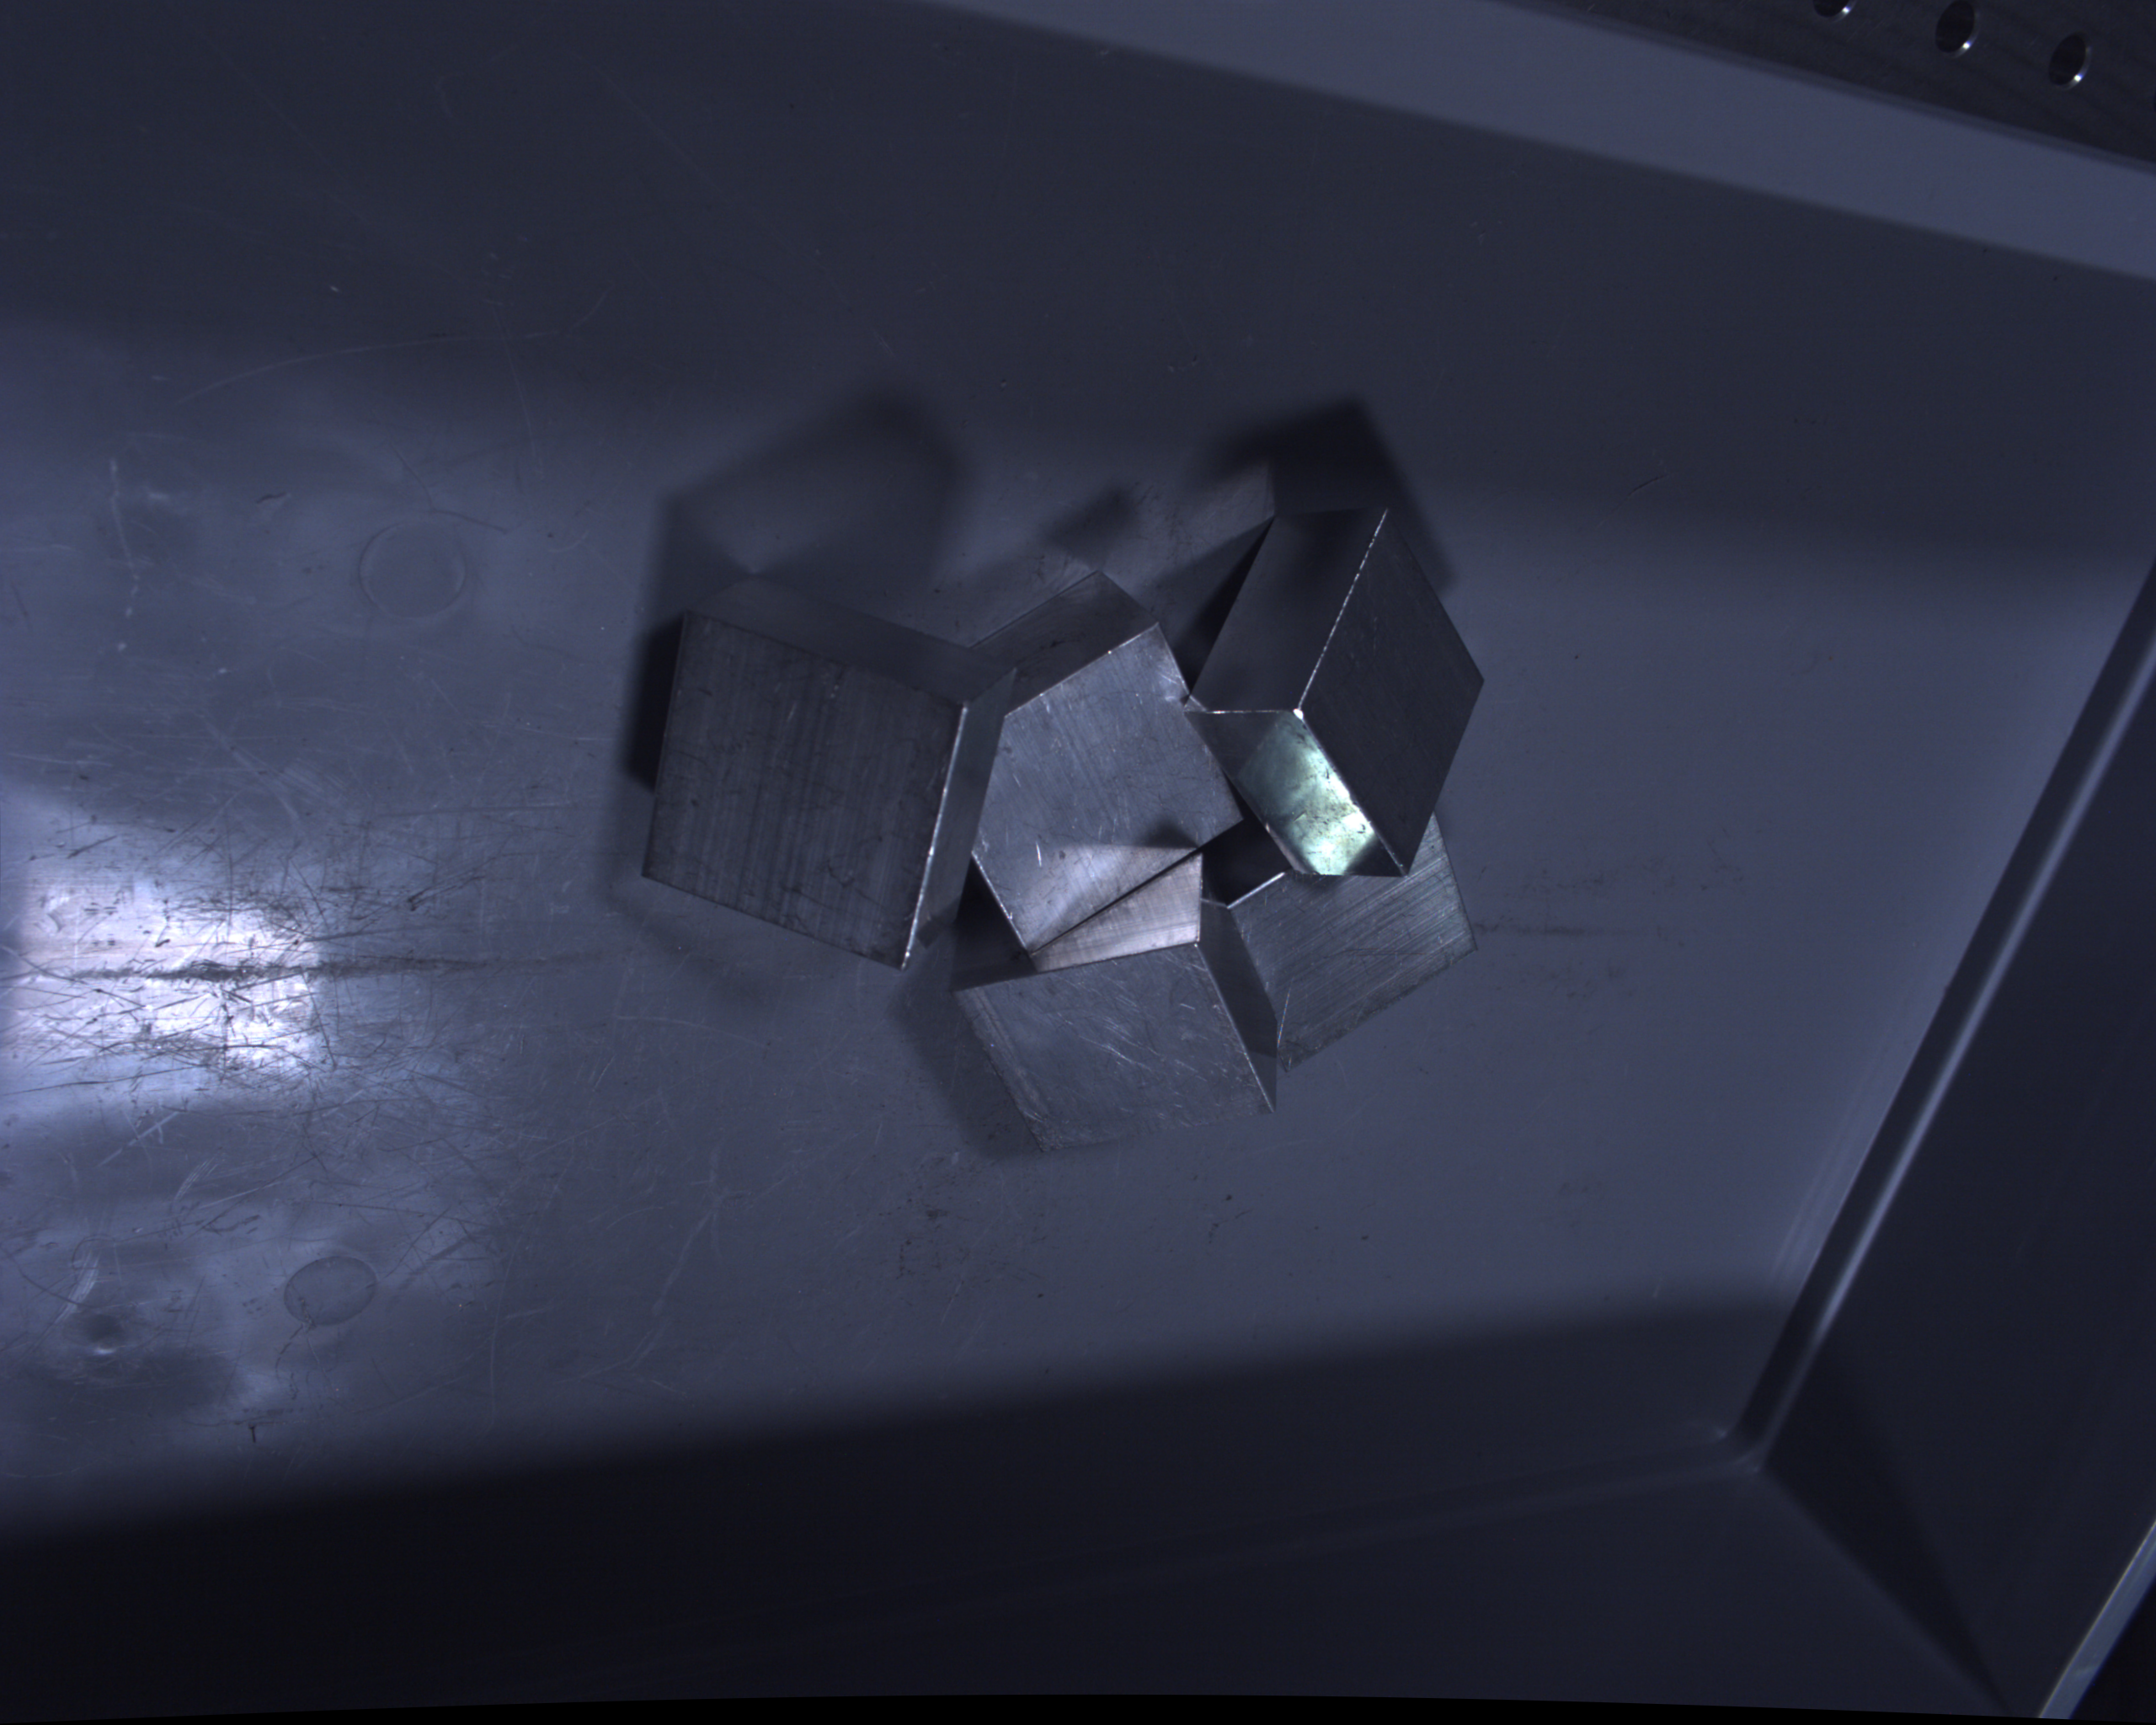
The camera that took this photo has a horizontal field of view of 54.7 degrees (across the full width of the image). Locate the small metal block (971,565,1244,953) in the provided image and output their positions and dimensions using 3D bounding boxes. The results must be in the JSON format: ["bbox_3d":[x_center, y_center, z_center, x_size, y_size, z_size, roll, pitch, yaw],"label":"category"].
[{"bbox_3d":[-0.003,-0.019,0.394,0.050,0.025,0.050,-33,129,-7],"label":"small metal block"}]

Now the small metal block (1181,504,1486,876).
[{"bbox_3d":[0.051,-0.032,0.401,0.050,0.025,0.050,51,53,-40],"label":"small metal block"}]

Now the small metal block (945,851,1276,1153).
[{"bbox_3d":[0.008,0.029,0.415,0.050,0.025,0.050,-12,130,17],"label":"small metal block"}]

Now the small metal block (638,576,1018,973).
[{"bbox_3d":[-0.043,-0.016,0.357,0.050,0.025,0.050,20,114,10],"label":"small metal block"}]

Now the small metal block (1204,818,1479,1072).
[{"bbox_3d":[0.052,0.008,0.442,0.050,0.025,0.050,-31,129,-8],"label":"small metal block"}]
